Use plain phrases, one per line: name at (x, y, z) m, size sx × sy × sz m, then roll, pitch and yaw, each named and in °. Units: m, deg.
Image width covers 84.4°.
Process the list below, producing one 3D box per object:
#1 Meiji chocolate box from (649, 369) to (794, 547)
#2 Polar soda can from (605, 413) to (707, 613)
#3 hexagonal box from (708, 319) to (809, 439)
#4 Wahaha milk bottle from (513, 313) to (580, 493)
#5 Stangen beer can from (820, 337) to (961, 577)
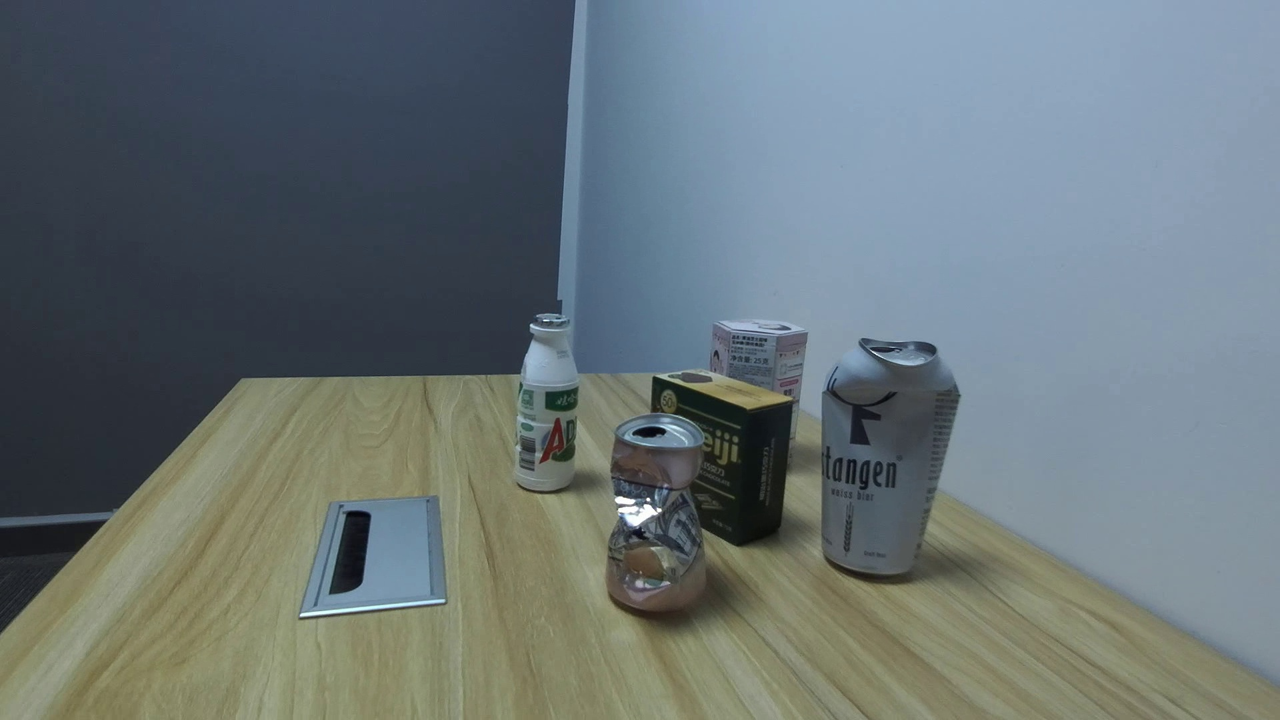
Meiji chocolate box at (0.060, 0.072, 0.560) m, size 0.056 × 0.109 × 0.109 m, roll -9°, pitch 18°, yaw -39°
Polar soda can at (0.011, 0.096, 0.439) m, size 0.070 × 0.114 × 0.074 m, roll -9°, pitch 14°, yaw -23°
hexagonal box at (0.109, 0.033, 0.684) m, size 0.083 × 0.136 × 0.091 m, roll 17°, pitch 18°, yaw 42°
Wahaha milk bottle at (-0.080, 0.041, 0.600) m, size 0.053 × 0.136 × 0.053 m, roll 4°, pitch 13°, yaw -1°
Stangen beer can at (0.168, 0.068, 0.491) m, size 0.077 × 0.162 × 0.065 m, roll -7°, pitch 17°, yaw -33°
